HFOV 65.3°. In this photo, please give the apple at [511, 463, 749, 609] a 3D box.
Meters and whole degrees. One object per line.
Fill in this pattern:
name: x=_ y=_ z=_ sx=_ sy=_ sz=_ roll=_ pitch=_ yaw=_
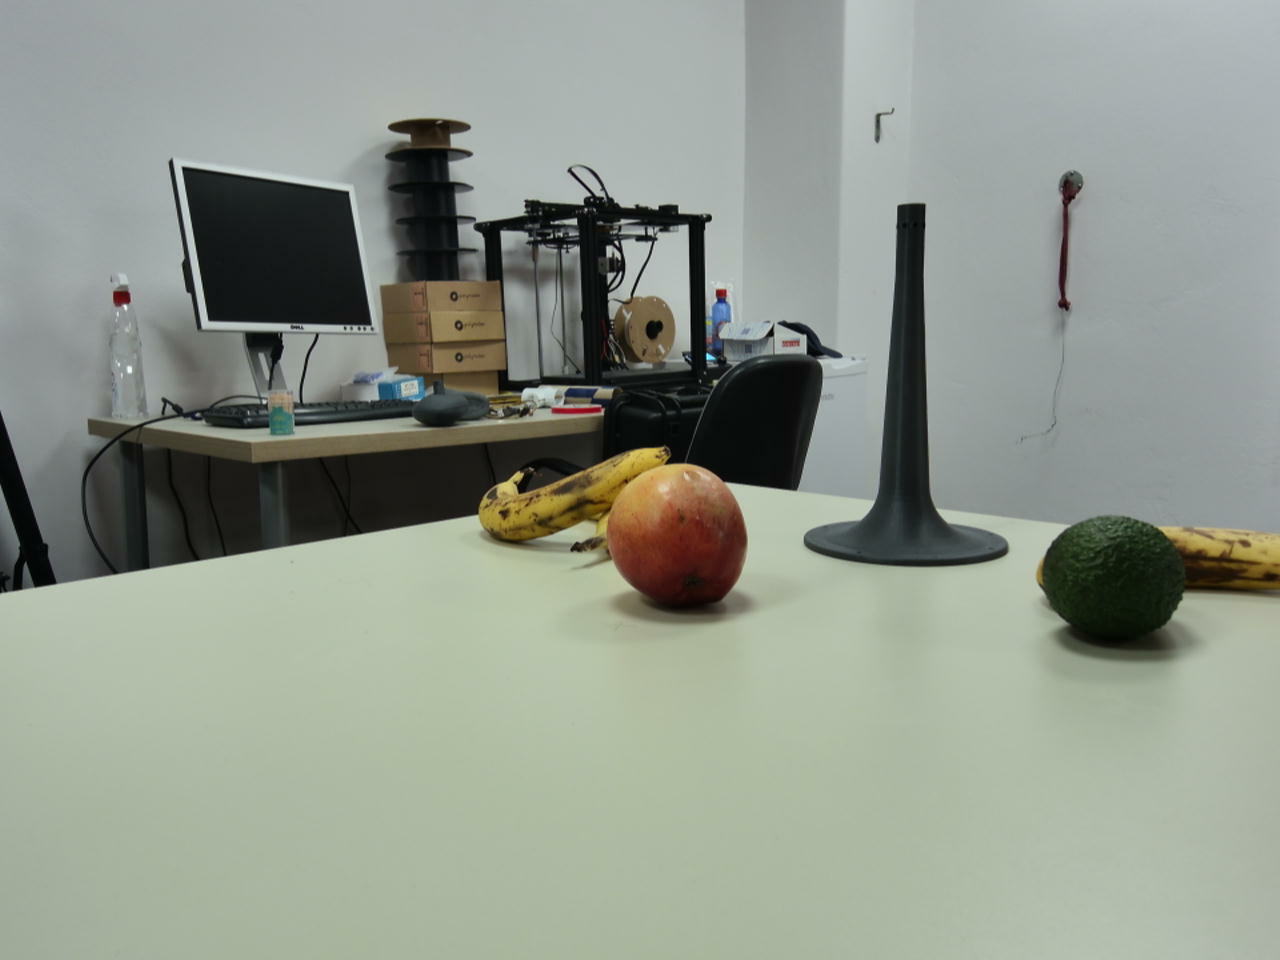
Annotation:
apple: x=0.023 y=0.033 z=0.618 sx=0.086 sy=0.084 sz=0.093 roll=1 pitch=7 yaw=11
